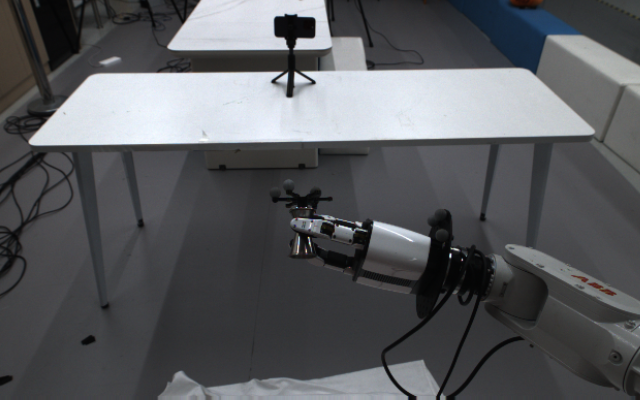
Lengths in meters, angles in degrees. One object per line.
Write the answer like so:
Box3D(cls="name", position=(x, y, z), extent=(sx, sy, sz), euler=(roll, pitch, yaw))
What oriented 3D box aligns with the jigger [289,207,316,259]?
Box3D(cls="jigger", position=(-0.025, 0.046, 0.693), extent=(0.043, 0.043, 0.071), euler=(0, 75, -3))
